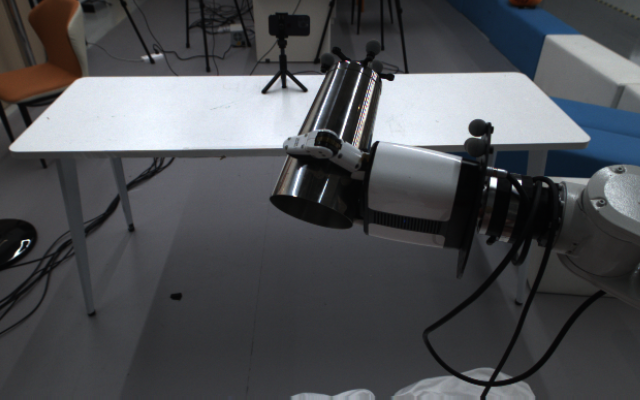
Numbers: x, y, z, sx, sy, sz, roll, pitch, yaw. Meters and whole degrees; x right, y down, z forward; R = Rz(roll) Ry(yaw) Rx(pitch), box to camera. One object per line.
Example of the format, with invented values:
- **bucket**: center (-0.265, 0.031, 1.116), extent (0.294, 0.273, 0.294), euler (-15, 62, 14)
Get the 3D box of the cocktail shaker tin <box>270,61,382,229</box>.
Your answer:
- **cocktail shaker tin**: center (0.015, -0.063, 0.534), extent (0.093, 0.093, 0.170), euler (14, 72, 16)
